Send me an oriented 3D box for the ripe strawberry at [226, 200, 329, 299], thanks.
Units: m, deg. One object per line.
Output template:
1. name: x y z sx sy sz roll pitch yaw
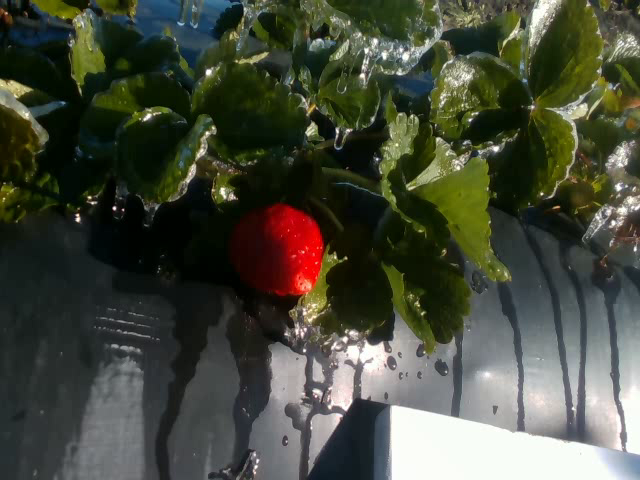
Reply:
1. ripe strawberry: -0.013 0.008 0.231 0.041 0.047 0.052 10 17 -17
